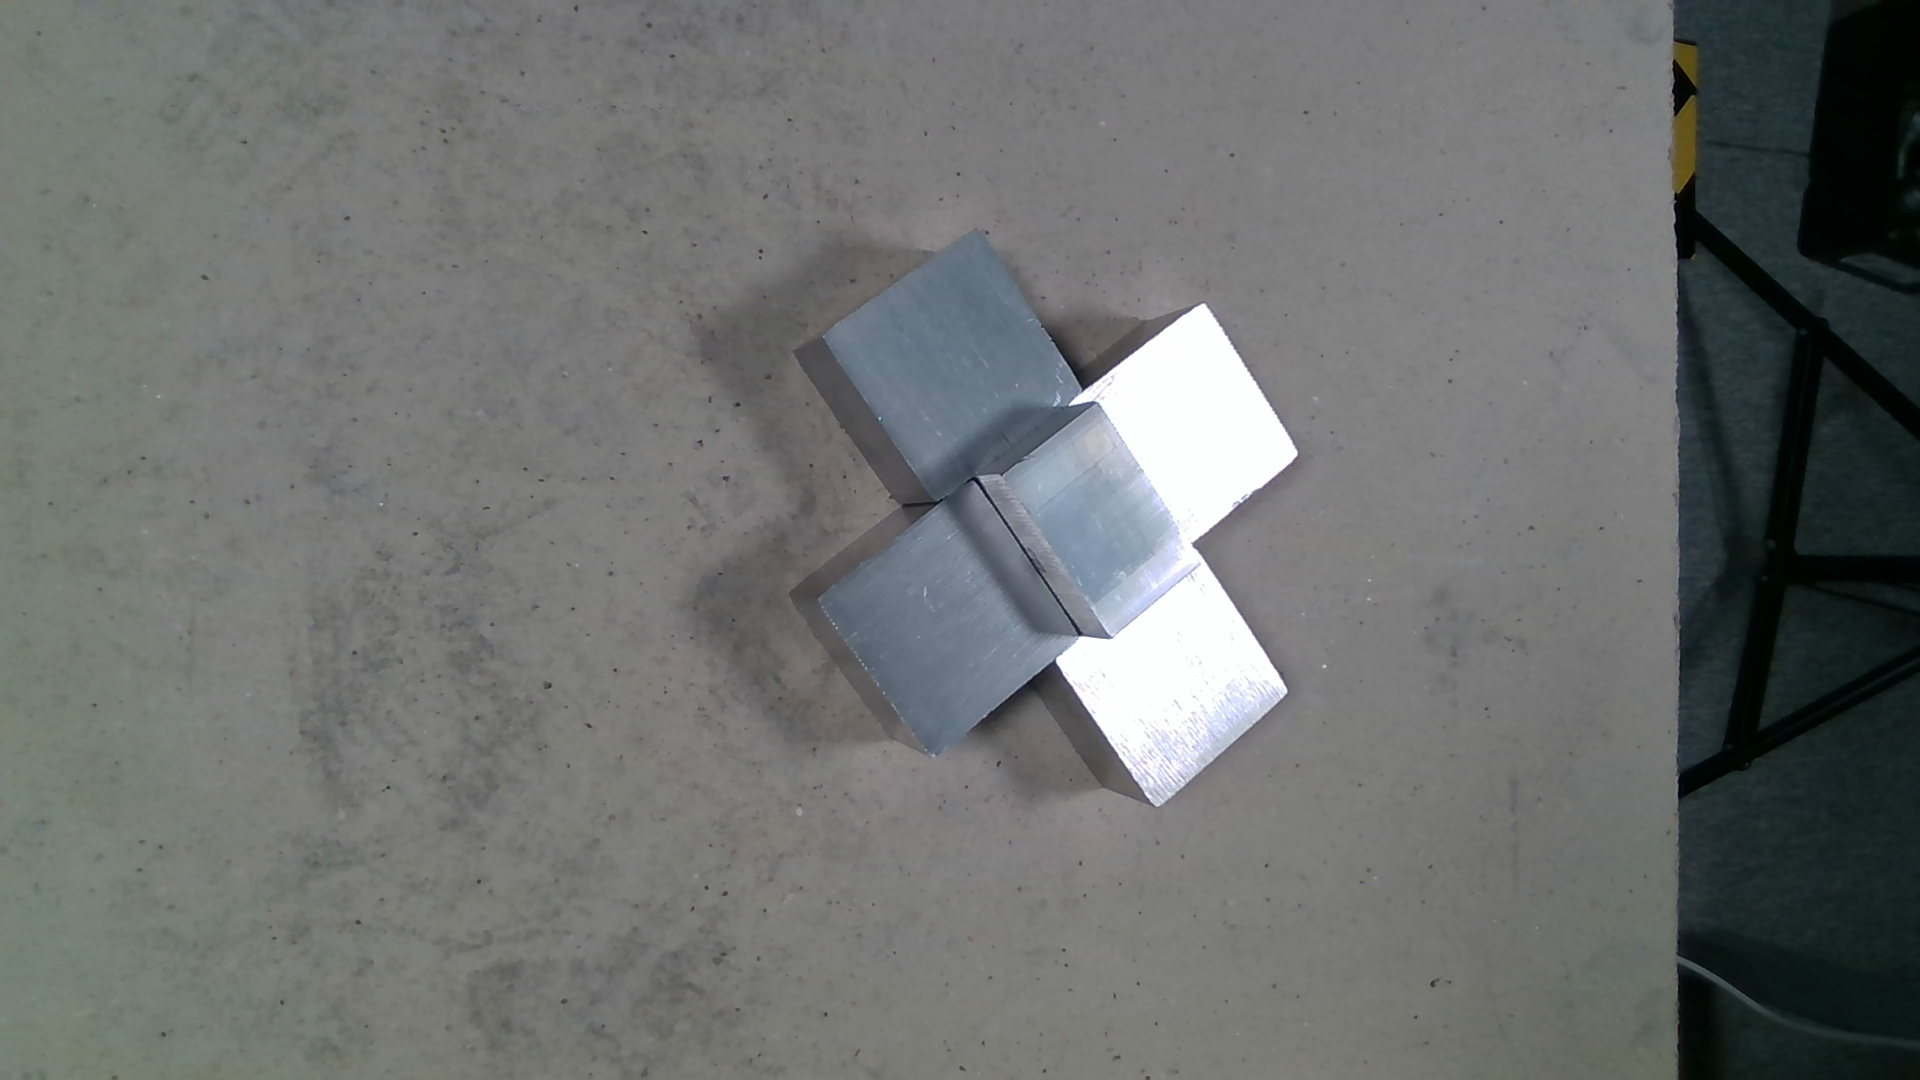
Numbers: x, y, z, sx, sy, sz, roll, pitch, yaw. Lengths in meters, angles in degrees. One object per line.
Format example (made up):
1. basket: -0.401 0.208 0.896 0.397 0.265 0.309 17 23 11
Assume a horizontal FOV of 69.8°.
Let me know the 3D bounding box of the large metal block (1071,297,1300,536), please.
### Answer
1. large metal block: 0.087 -0.047 0.604 0.080 0.050 0.080 -38 103 -16

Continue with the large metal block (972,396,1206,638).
1. large metal block: 0.043 -0.009 0.572 0.050 0.080 0.080 -38 102 -16

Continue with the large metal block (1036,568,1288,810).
1. large metal block: 0.082 0.057 0.602 0.080 0.050 0.080 -38 103 -16

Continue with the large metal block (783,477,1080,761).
1. large metal block: -0.012 0.031 0.567 0.080 0.050 0.080 -38 103 -16

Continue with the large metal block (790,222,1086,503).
1. large metal block: -0.010 -0.071 0.568 0.080 0.050 0.080 -38 103 -16
